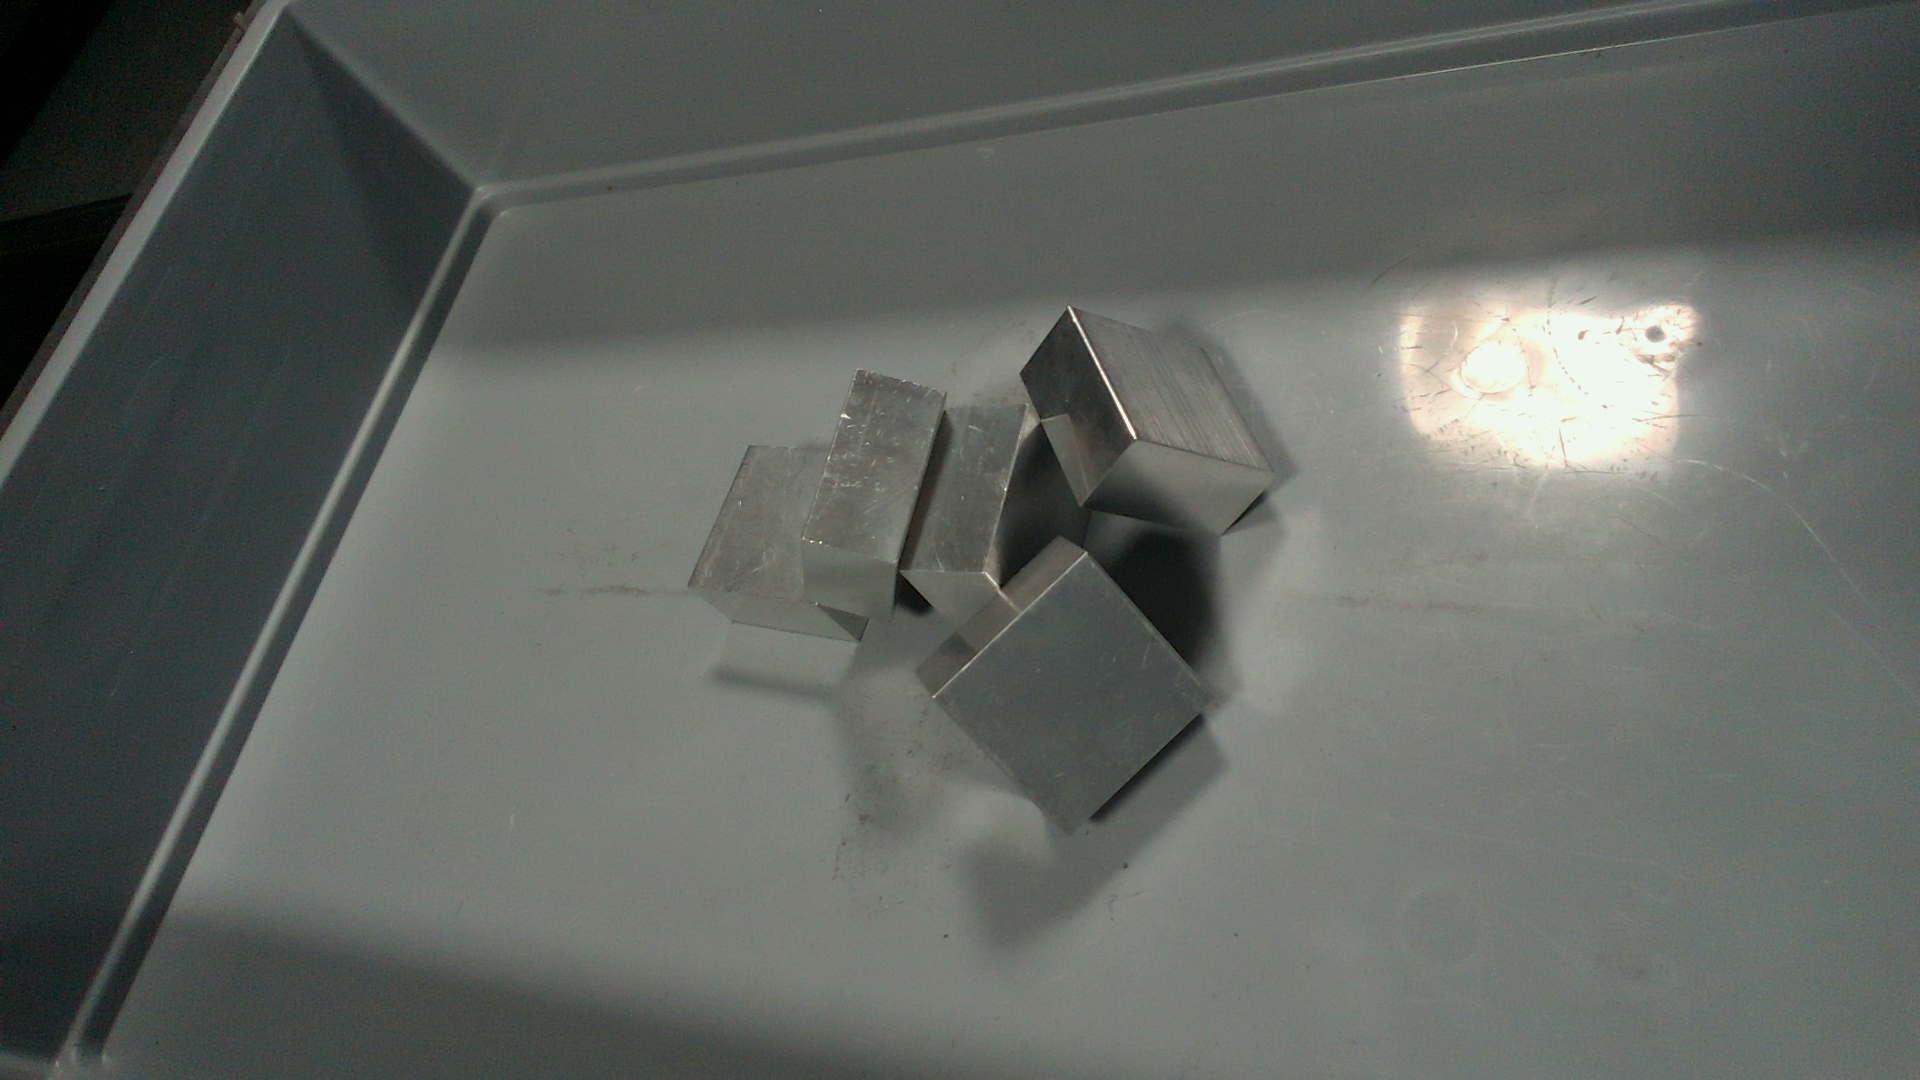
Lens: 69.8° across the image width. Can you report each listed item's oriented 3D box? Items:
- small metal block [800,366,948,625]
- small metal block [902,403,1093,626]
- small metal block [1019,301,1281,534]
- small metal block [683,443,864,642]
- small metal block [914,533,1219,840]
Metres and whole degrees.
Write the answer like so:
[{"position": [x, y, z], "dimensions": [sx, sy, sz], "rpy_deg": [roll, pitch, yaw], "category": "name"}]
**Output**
[{"position": [-0.023, -0.011, 0.372], "dimensions": [0.025, 0.050, 0.050], "rpy_deg": [15, 69, 1], "category": "small metal block"}, {"position": [0.012, -0.002, 0.371], "dimensions": [0.025, 0.050, 0.050], "rpy_deg": [1, 62, 29], "category": "small metal block"}, {"position": [0.050, -0.032, 0.366], "dimensions": [0.025, 0.050, 0.050], "rpy_deg": [-52, 43, 34], "category": "small metal block"}, {"position": [-0.048, 0.000, 0.417], "dimensions": [0.050, 0.025, 0.050], "rpy_deg": [7, 65, 31], "category": "small metal block"}, {"position": [0.026, 0.035, 0.337], "dimensions": [0.050, 0.050, 0.025], "rpy_deg": [-43, 15, -2], "category": "small metal block"}]
